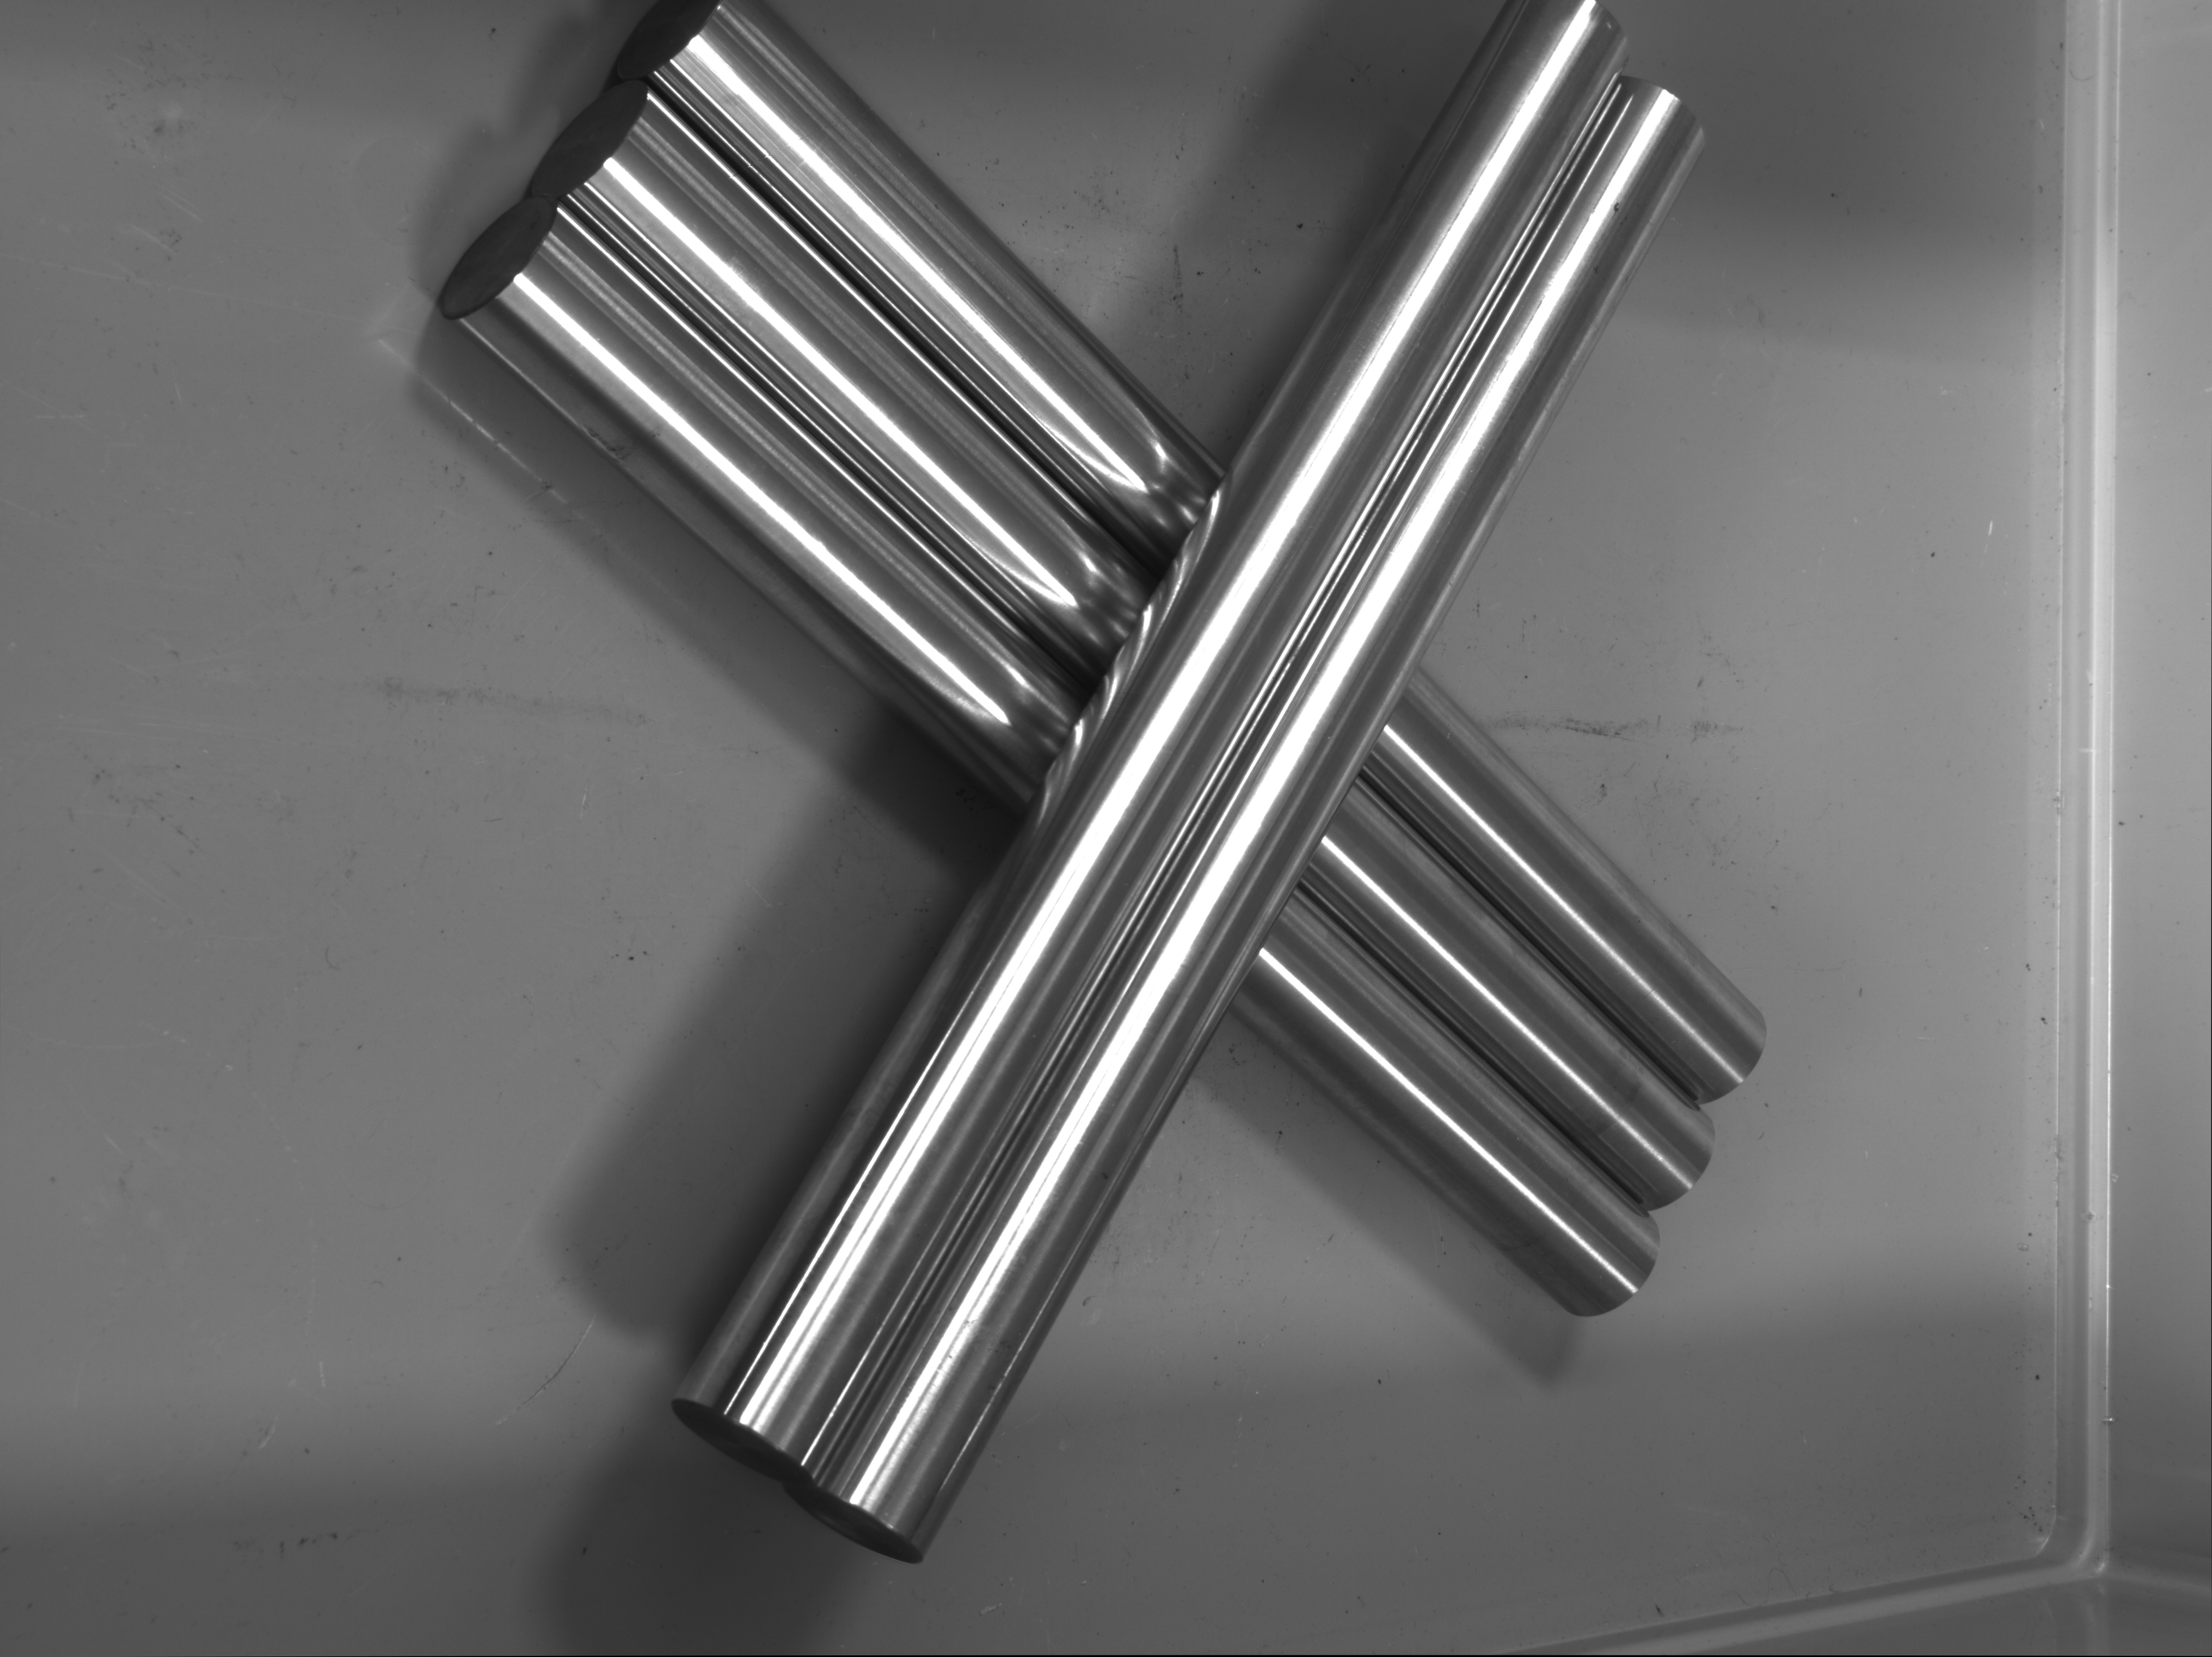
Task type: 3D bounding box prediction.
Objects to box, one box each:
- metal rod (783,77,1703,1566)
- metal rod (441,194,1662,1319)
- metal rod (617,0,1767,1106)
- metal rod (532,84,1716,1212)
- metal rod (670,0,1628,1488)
[{"bbox_3d":[0.030,-0.012,0.627,0.025,0.025,0.300,44,63,-31],"label":"metal rod"},{"bbox_3d":[0.003,-0.001,0.637,0.301,0.025,0.025,42,65,-32],"label":"metal rod"},{"bbox_3d":[0.027,-0.041,0.657,0.301,0.025,0.025,42,65,-32],"label":"metal rod"},{"bbox_3d":[0.015,-0.020,0.647,0.301,0.025,0.025,42,65,-32],"label":"metal rod"},{"bbox_3d":[0.014,-0.026,0.614,0.025,0.025,0.300,44,63,-31],"label":"metal rod"}]
